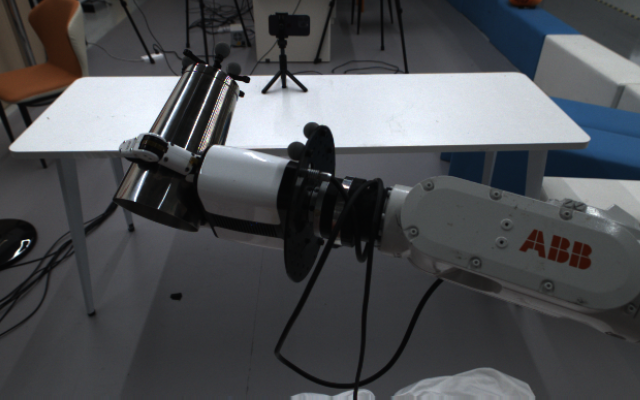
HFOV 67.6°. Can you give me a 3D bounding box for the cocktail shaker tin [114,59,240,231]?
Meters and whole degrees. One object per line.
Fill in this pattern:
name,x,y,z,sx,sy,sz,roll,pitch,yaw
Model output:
cocktail shaker tin,-0.148,-0.059,0.532,0.093,0.093,0.170,13,72,15
